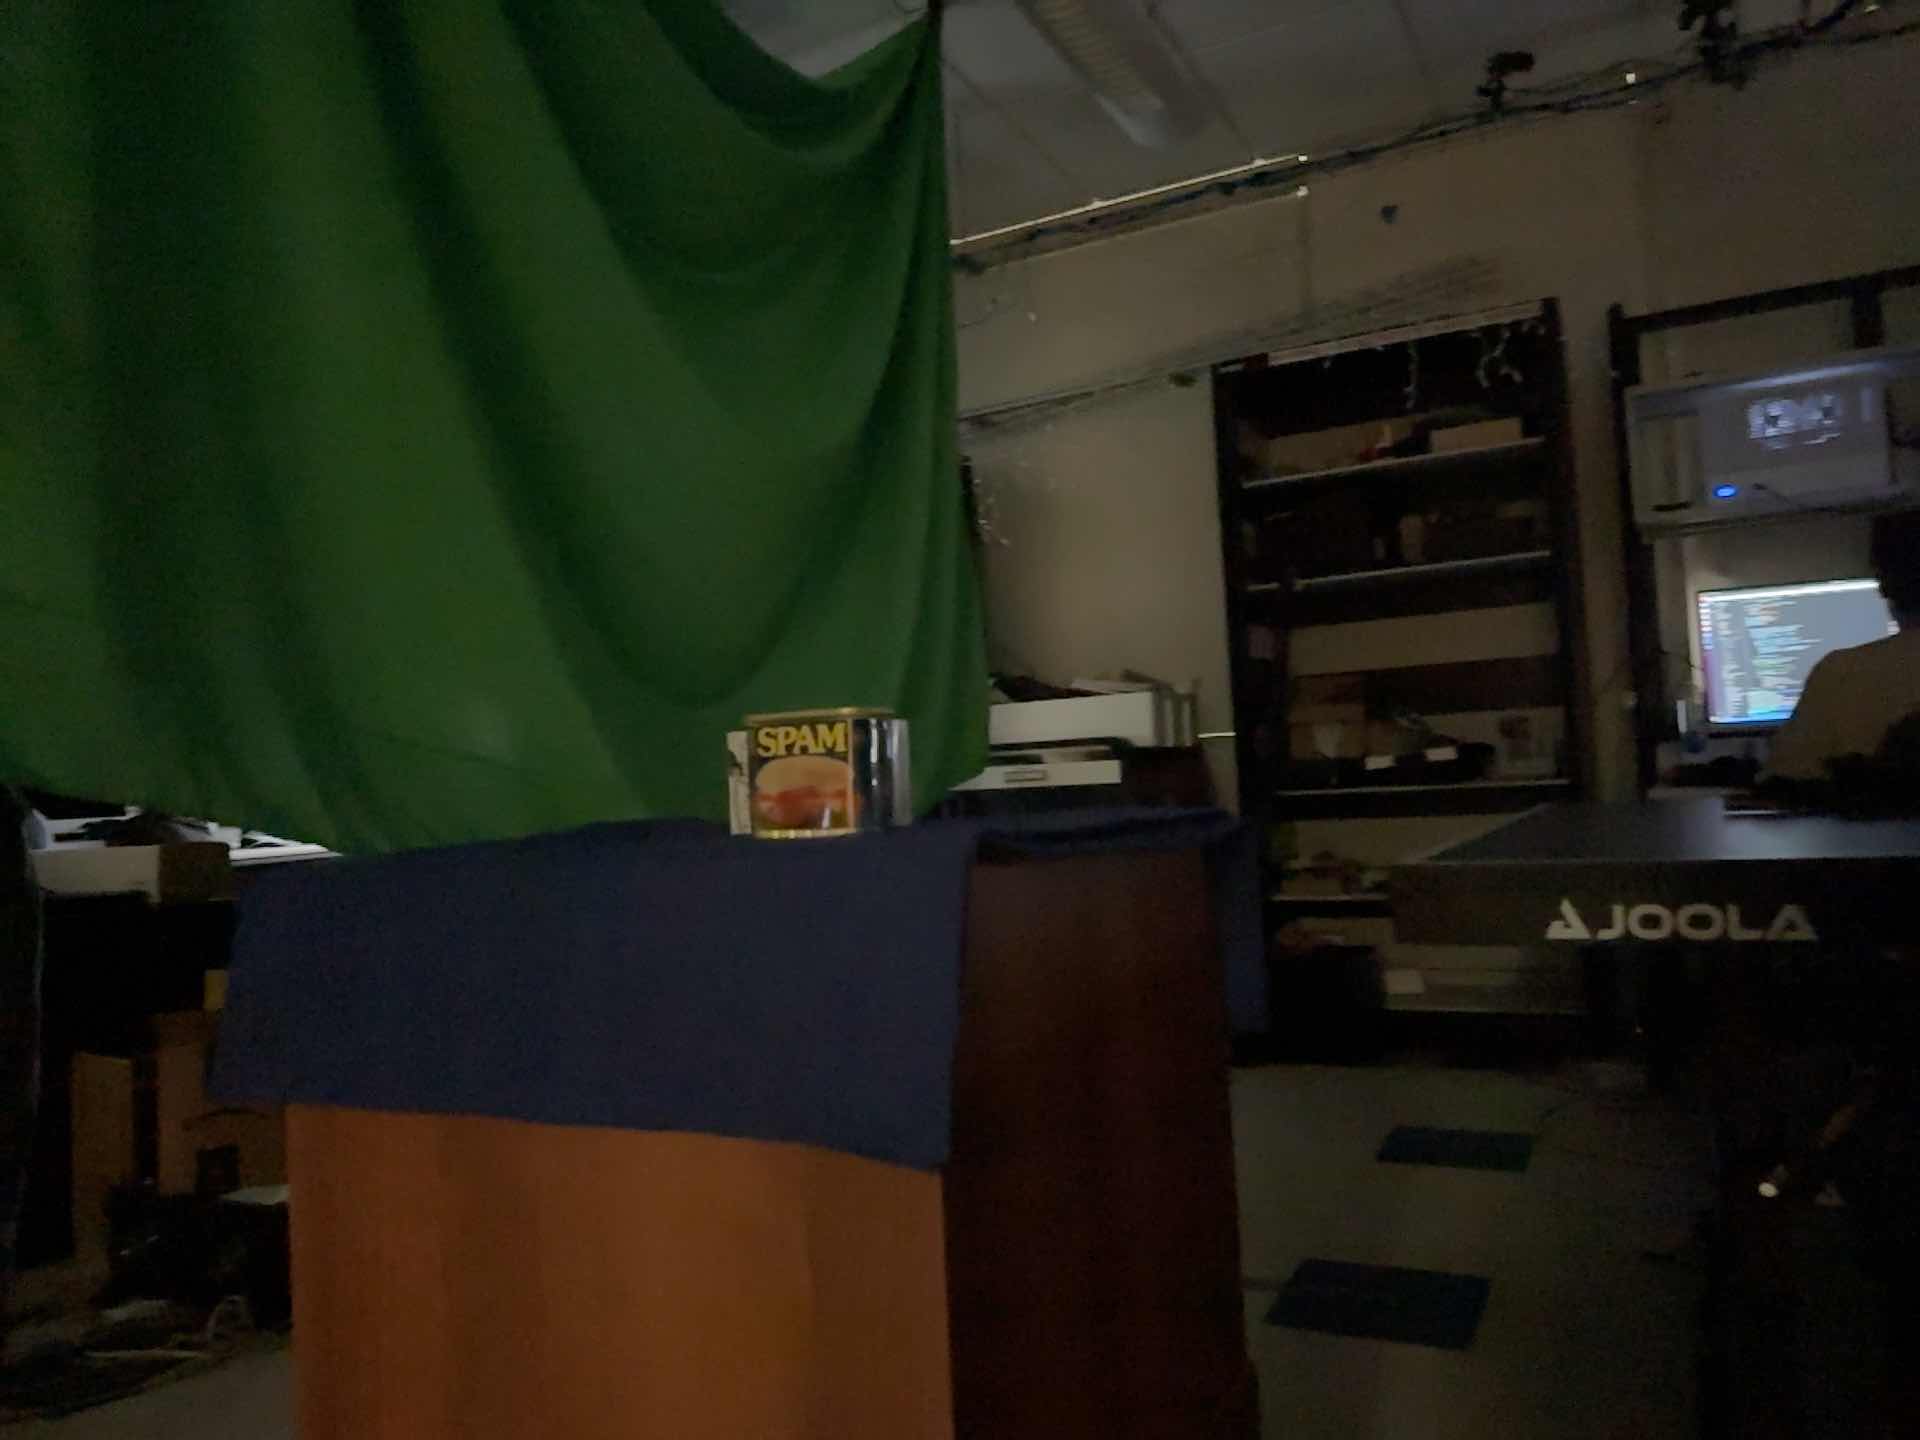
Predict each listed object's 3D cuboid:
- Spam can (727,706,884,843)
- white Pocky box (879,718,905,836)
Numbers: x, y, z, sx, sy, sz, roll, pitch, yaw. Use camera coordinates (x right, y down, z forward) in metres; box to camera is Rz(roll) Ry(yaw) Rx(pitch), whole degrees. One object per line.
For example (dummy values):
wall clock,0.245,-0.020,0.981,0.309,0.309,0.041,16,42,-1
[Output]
Spam can,-0.101,0.036,0.868,0.100,0.083,0.056,-2,-3,30
white Pocky box,-0.107,0.044,0.994,0.154,0.084,0.028,-4,-4,38
